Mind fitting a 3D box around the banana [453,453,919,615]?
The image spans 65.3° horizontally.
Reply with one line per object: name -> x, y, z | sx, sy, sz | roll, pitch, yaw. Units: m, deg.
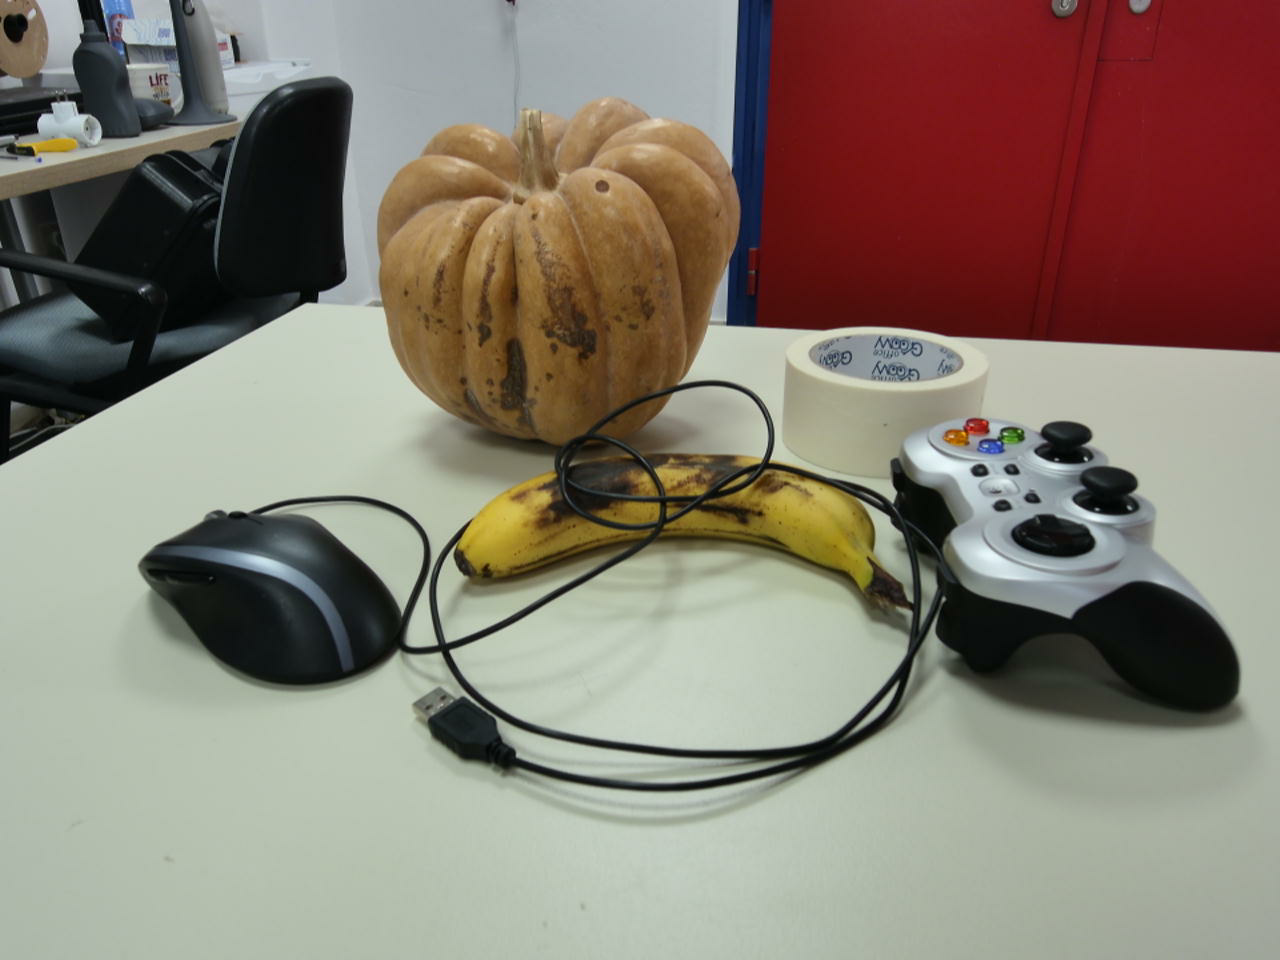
banana -> 0.020, 0.018, 0.435 | 0.187, 0.039, 0.094 | 4, 24, 10
